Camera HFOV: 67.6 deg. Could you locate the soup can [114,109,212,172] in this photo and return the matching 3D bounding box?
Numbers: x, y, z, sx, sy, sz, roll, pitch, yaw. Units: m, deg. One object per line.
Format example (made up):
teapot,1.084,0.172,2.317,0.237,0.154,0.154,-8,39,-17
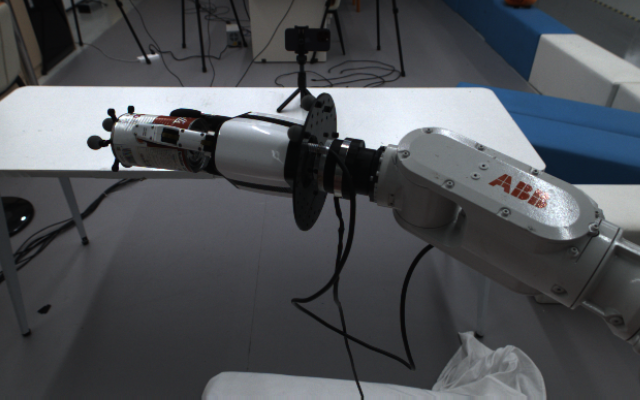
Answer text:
soup can,-0.195,-0.071,0.602,0.101,0.067,0.067,6,35,12
